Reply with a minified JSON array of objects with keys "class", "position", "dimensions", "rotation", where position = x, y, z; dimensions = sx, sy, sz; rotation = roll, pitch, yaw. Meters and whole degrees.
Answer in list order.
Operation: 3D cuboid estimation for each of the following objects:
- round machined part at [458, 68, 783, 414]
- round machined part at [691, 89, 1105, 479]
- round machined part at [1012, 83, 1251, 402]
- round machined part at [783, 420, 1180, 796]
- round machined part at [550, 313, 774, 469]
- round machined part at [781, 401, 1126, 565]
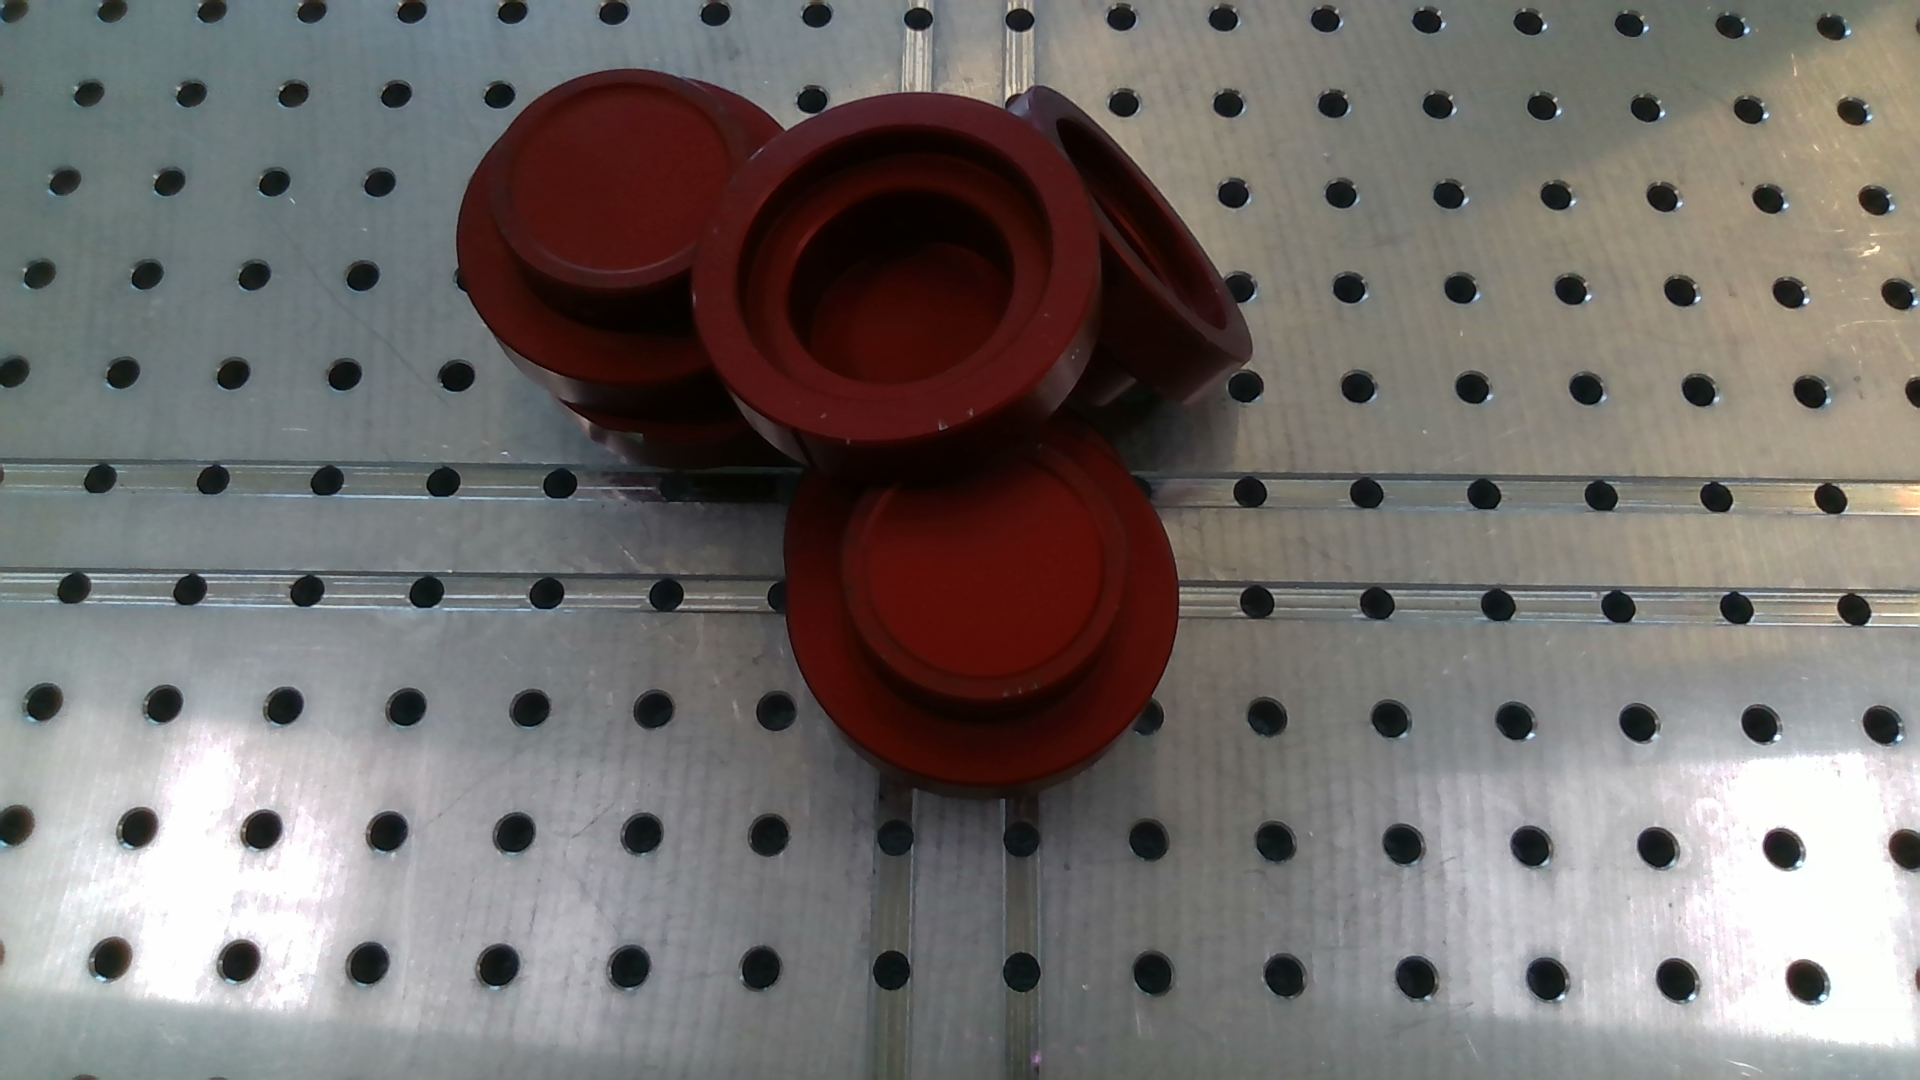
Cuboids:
[{"class":"round machined part","position":[-0.088,-0.087,0.375],"dimensions":[0.098,0.042,0.098],"rotation":[0,70,0]},{"class":"round machined part","position":[-0.013,-0.059,0.342],"dimensions":[0.098,0.042,0.098],"rotation":[-3,67,7]},{"class":"round machined part","position":[0.037,-0.079,0.397],"dimensions":[0.042,0.098,0.098],"rotation":[-37,71,24]},{"class":"round machined part","position":[0.005,0.011,0.339],"dimensions":[0.098,0.042,0.098],"rotation":[0,70,-1]},{"class":"round machined part","position":[-0.078,-0.073,0.393],"dimensions":[0.098,0.042,0.098],"rotation":[0,70,0]},{"class":"round machined part","position":[0.001,-0.002,0.367],"dimensions":[0.098,0.042,0.098],"rotation":[0,70,0]}]
